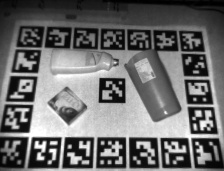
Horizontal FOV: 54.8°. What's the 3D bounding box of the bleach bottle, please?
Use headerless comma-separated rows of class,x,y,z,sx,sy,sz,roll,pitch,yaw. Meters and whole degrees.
bleach bottle,-0.112,-0.099,0.832,0.251,0.068,0.102,-2,76,-5

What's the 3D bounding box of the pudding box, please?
pudding box,-0.174,0.067,0.780,0.090,0.038,0.113,-41,79,-20

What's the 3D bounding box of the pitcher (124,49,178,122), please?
pitcher,0.147,0.001,0.794,0.191,0.132,0.241,-13,74,-42
